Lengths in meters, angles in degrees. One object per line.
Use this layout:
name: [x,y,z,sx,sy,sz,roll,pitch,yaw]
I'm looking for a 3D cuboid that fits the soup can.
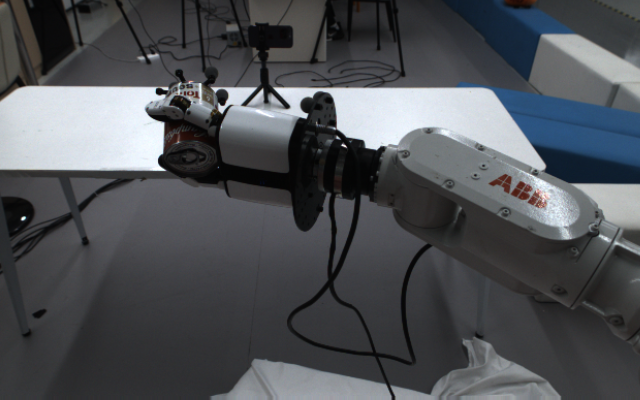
soup can: [-0.157,-0.087,0.597,0.067,0.067,0.101,-5,57,-10]
